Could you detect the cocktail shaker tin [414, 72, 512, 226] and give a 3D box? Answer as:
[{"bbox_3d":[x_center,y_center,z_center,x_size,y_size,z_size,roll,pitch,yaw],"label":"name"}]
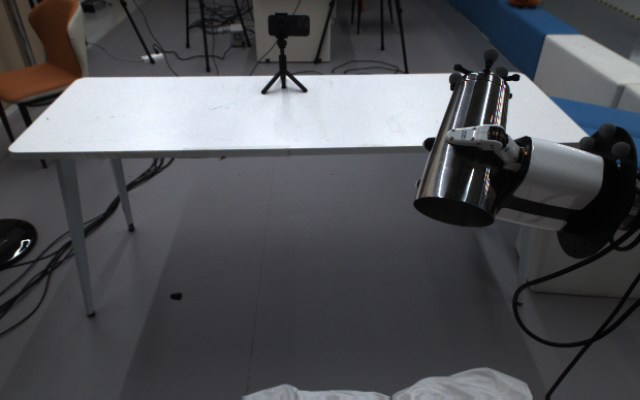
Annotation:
[{"bbox_3d":[0.179,-0.063,0.581,0.093,0.093,0.170,13,74,16],"label":"cocktail shaker tin"}]
